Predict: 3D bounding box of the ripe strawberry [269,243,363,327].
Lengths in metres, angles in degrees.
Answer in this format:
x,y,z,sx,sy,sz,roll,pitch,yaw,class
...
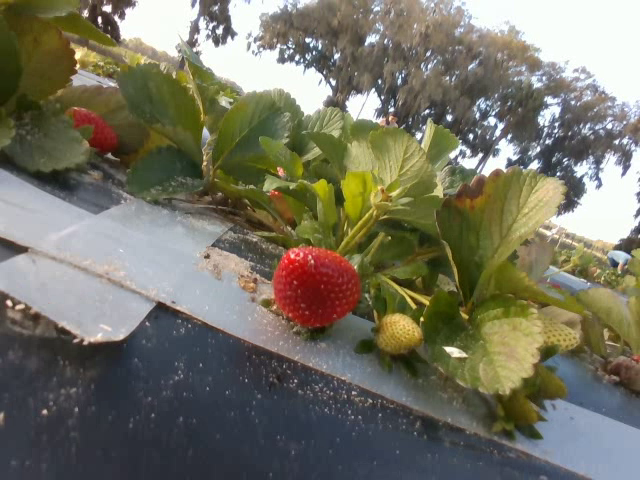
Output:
x,y,z,sx,sy,sz,roll,pitch,yaw,class
-0.001,0.007,0.124,0.023,0.021,0.026,4,-12,14,ripe strawberry
